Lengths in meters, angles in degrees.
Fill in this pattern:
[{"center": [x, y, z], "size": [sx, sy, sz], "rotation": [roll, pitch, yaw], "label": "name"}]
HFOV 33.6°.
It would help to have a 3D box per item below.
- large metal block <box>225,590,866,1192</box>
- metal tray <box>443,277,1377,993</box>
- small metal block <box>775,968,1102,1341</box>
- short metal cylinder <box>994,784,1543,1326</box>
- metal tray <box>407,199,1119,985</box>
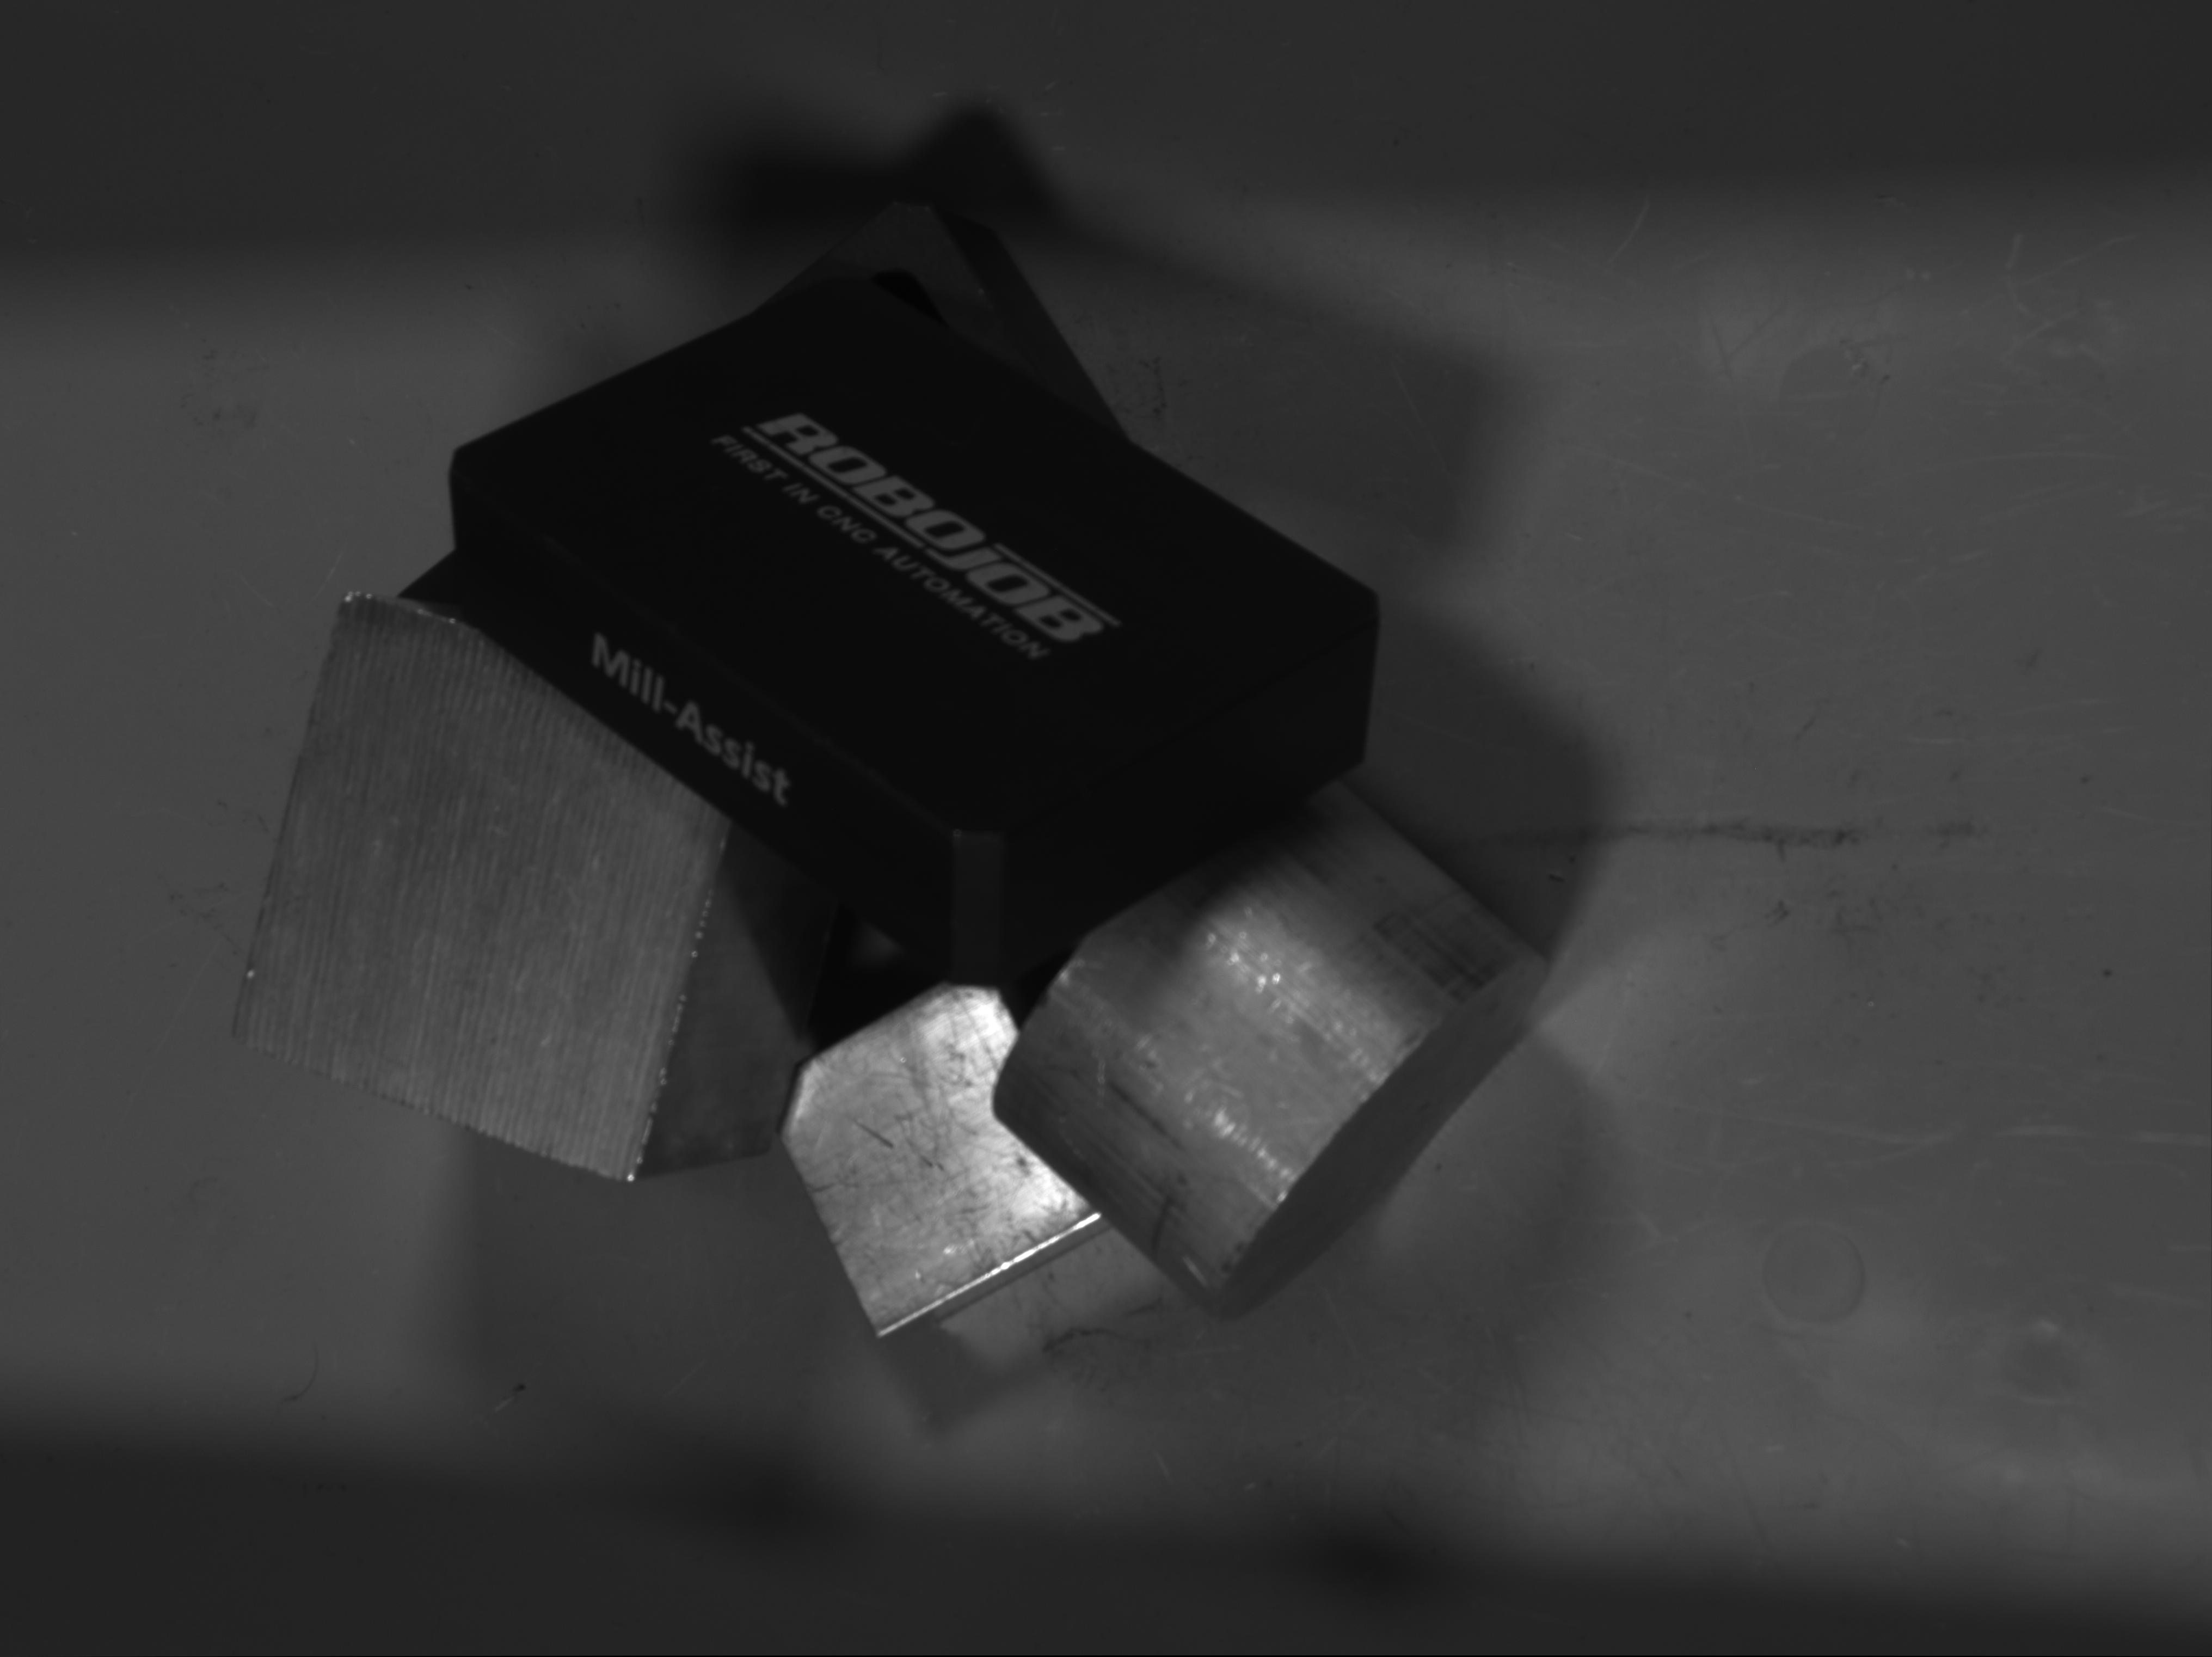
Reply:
[{"center": [-0.095, 0.010, 0.630], "size": [0.080, 0.050, 0.080], "rotation": [17, 96, 19], "label": "large metal block"}, {"center": [-0.033, -0.036, 0.589], "size": [0.130, 0.090, 0.030], "rotation": [35, 140, 31], "label": "metal tray"}, {"center": [-0.027, 0.056, 0.653], "size": [0.050, 0.025, 0.050], "rotation": [-30, 80, 17], "label": "small metal block"}, {"center": [0.027, 0.035, 0.605], "size": [0.050, 0.080, 0.080], "rotation": [41, 103, 15], "label": "short metal cylinder"}, {"center": [-0.055, -0.039, 0.660], "size": [0.130, 0.030, 0.090], "rotation": [-36, 79, 16], "label": "metal tray"}]
